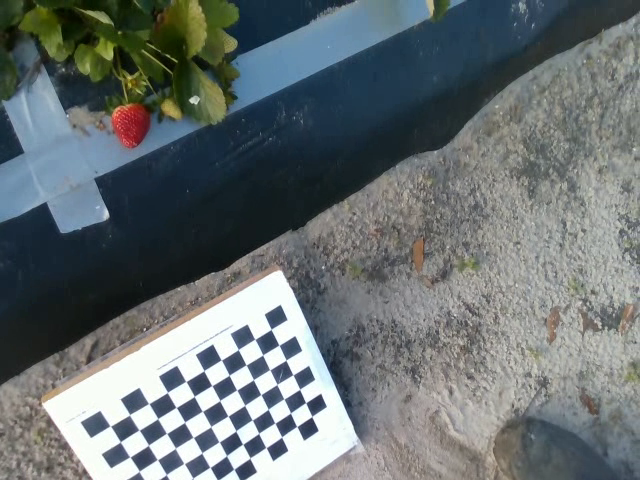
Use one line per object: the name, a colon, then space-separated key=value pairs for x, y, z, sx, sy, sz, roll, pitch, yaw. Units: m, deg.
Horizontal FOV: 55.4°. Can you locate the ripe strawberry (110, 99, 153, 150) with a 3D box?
ripe strawberry: x=-0.093 y=-0.056 z=0.299 sx=0.023 sy=0.026 sz=0.020 roll=-14 pitch=-25 yaw=5
